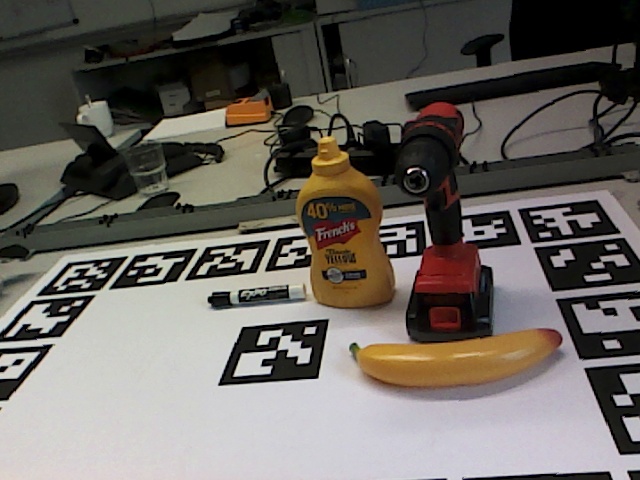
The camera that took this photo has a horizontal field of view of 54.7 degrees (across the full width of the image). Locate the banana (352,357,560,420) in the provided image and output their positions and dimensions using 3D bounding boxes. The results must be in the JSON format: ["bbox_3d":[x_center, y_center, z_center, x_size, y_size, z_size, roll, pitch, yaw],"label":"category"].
[{"bbox_3d":[0.117,0.135,0.572,0.198,0.039,0.074,-4,30,20],"label":"banana"}]

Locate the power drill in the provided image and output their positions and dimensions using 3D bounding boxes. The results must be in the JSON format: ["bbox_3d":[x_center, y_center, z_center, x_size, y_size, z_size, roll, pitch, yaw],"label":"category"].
[{"bbox_3d":[0.119,0.008,0.603,0.057,0.186,0.184,2,27,22],"label":"power drill"}]

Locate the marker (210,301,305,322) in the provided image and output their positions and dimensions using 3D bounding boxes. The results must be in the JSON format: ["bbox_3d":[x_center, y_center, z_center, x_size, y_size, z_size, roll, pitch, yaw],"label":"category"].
[{"bbox_3d":[-0.078,0.088,0.761,0.121,0.019,0.019,-6,29,13],"label":"marker"}]

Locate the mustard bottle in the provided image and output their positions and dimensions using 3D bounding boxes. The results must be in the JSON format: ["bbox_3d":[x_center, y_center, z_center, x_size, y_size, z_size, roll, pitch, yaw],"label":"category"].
[{"bbox_3d":[0.027,0.004,0.689,0.096,0.191,0.058,0,29,21],"label":"mustard bottle"}]
